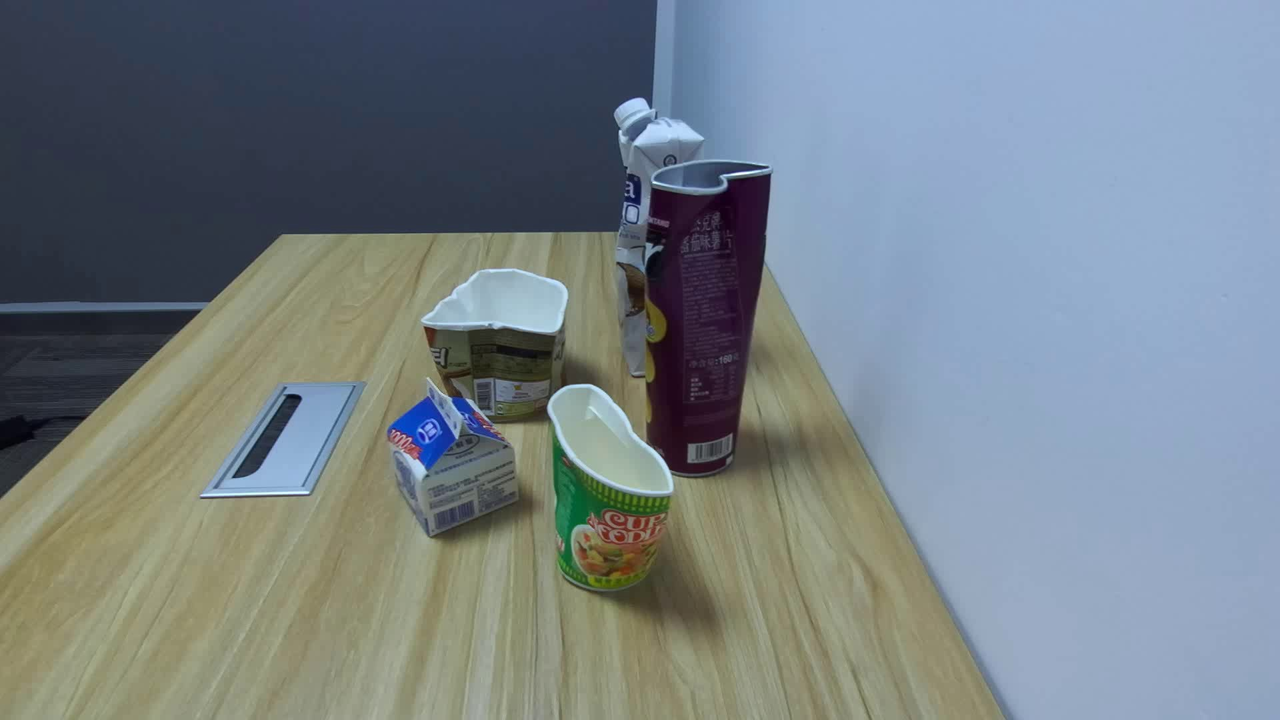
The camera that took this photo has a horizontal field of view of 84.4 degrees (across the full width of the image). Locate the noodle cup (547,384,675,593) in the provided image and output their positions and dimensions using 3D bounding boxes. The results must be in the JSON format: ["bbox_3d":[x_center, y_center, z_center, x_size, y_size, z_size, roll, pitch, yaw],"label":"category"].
[{"bbox_3d":[-0.021,0.089,0.463,0.070,0.111,0.115,-3,31,-5],"label":"noodle cup"}]

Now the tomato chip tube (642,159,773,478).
[{"bbox_3d":[0.047,-0.024,0.535,0.077,0.235,0.076,11,32,15],"label":"tomato chip tube"}]

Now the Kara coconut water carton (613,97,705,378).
[{"bbox_3d":[0.023,-0.106,0.650,0.078,0.256,0.083,1,26,6],"label":"Kara coconut water carton"}]

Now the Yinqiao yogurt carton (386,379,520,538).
[{"bbox_3d":[-0.140,0.063,0.524,0.074,0.092,0.075,-19,36,-29],"label":"Yinqiao yogurt carton"}]

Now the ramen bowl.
[{"bbox_3d":[-0.124,-0.020,0.653,0.113,0.097,0.133,-1,32,0],"label":"ramen bowl"}]
